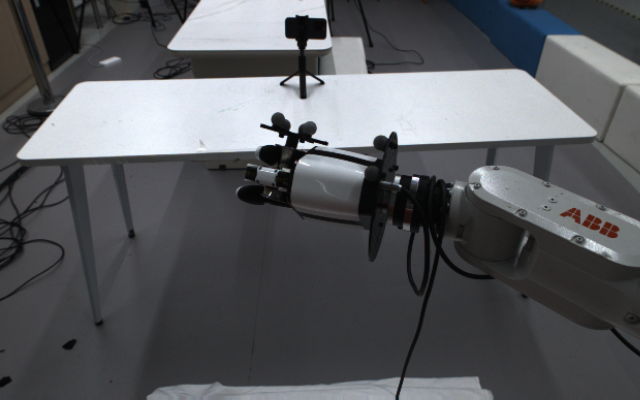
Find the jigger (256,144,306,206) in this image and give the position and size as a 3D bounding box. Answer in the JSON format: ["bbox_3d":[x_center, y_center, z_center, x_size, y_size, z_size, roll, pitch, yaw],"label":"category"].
[{"bbox_3d":[-0.046,-0.034,0.616,0.043,0.071,0.043,17,2,-1],"label":"jigger"}]
